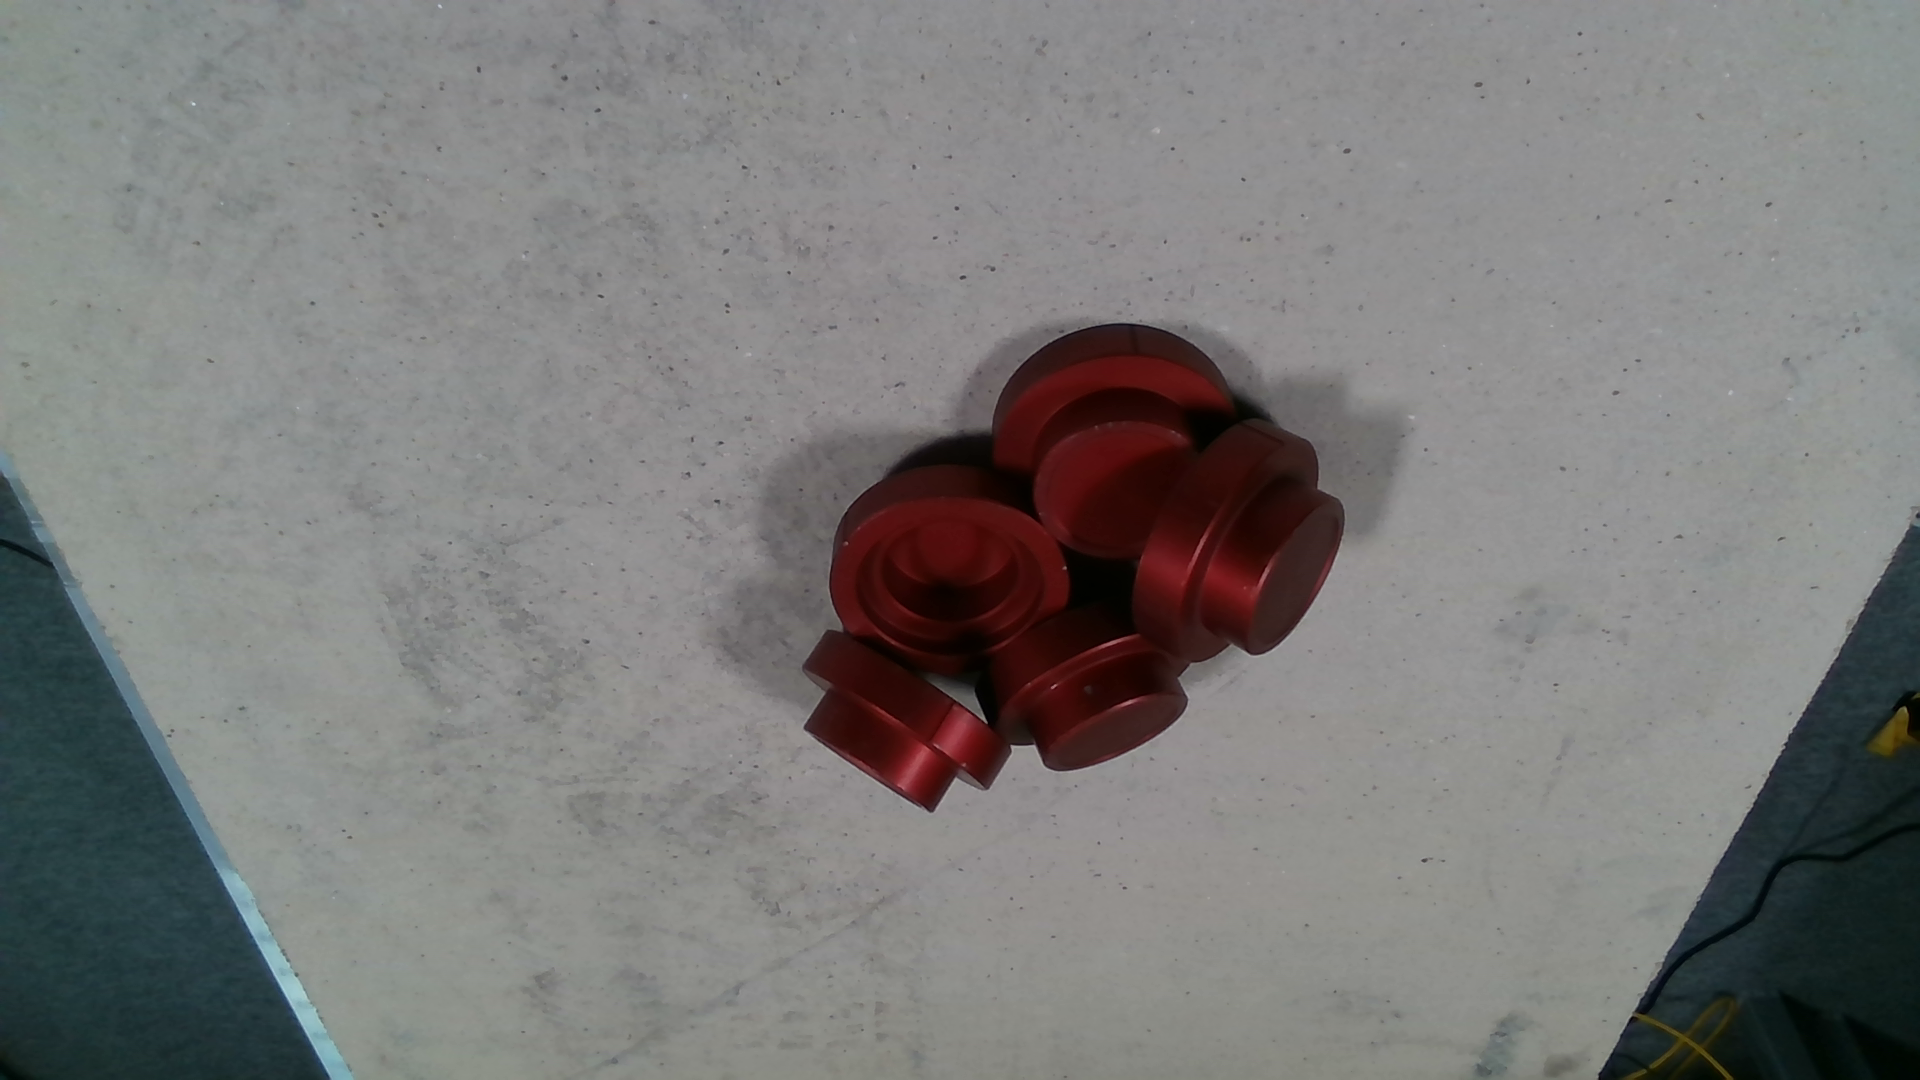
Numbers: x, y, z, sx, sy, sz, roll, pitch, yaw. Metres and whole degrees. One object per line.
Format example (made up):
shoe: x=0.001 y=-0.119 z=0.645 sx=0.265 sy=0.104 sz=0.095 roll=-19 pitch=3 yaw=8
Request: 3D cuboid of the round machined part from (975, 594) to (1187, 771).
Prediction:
round machined part: x=0.059 y=0.066 z=0.596 sx=0.098 sy=0.042 sz=0.098 roll=-20 pitch=154 yaw=-10

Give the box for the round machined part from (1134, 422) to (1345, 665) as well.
round machined part: x=0.113 y=0.006 z=0.535 sx=0.042 sy=0.098 sz=0.098 roll=30 pitch=138 yaw=30

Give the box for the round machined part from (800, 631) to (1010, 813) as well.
round machined part: x=-0.030 y=0.084 z=0.603 sx=0.098 sy=0.098 sz=0.042 roll=39 pitch=79 yaw=-28

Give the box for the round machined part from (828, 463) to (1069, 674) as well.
round machined part: x=-0.005 y=0.007 z=0.574 sx=0.098 sy=0.042 sz=0.098 roll=0 pitch=130 yaw=0

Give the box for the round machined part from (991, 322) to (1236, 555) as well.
round machined part: x=0.062 y=-0.033 z=0.542 sx=0.098 sy=0.042 sz=0.098 roll=0 pitch=130 yaw=0
